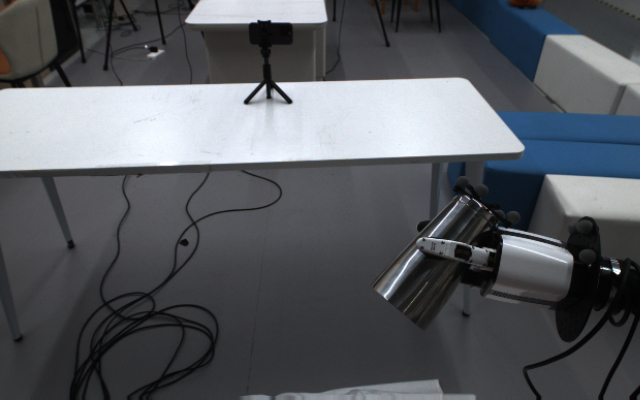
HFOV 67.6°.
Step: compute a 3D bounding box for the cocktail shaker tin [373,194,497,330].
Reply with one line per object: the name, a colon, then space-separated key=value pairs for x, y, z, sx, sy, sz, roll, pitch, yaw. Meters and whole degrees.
cocktail shaker tin: x=0.157 y=0.073 z=0.641 sx=0.170 sy=0.093 sz=0.093 roll=-48 pitch=49 yaw=-3
